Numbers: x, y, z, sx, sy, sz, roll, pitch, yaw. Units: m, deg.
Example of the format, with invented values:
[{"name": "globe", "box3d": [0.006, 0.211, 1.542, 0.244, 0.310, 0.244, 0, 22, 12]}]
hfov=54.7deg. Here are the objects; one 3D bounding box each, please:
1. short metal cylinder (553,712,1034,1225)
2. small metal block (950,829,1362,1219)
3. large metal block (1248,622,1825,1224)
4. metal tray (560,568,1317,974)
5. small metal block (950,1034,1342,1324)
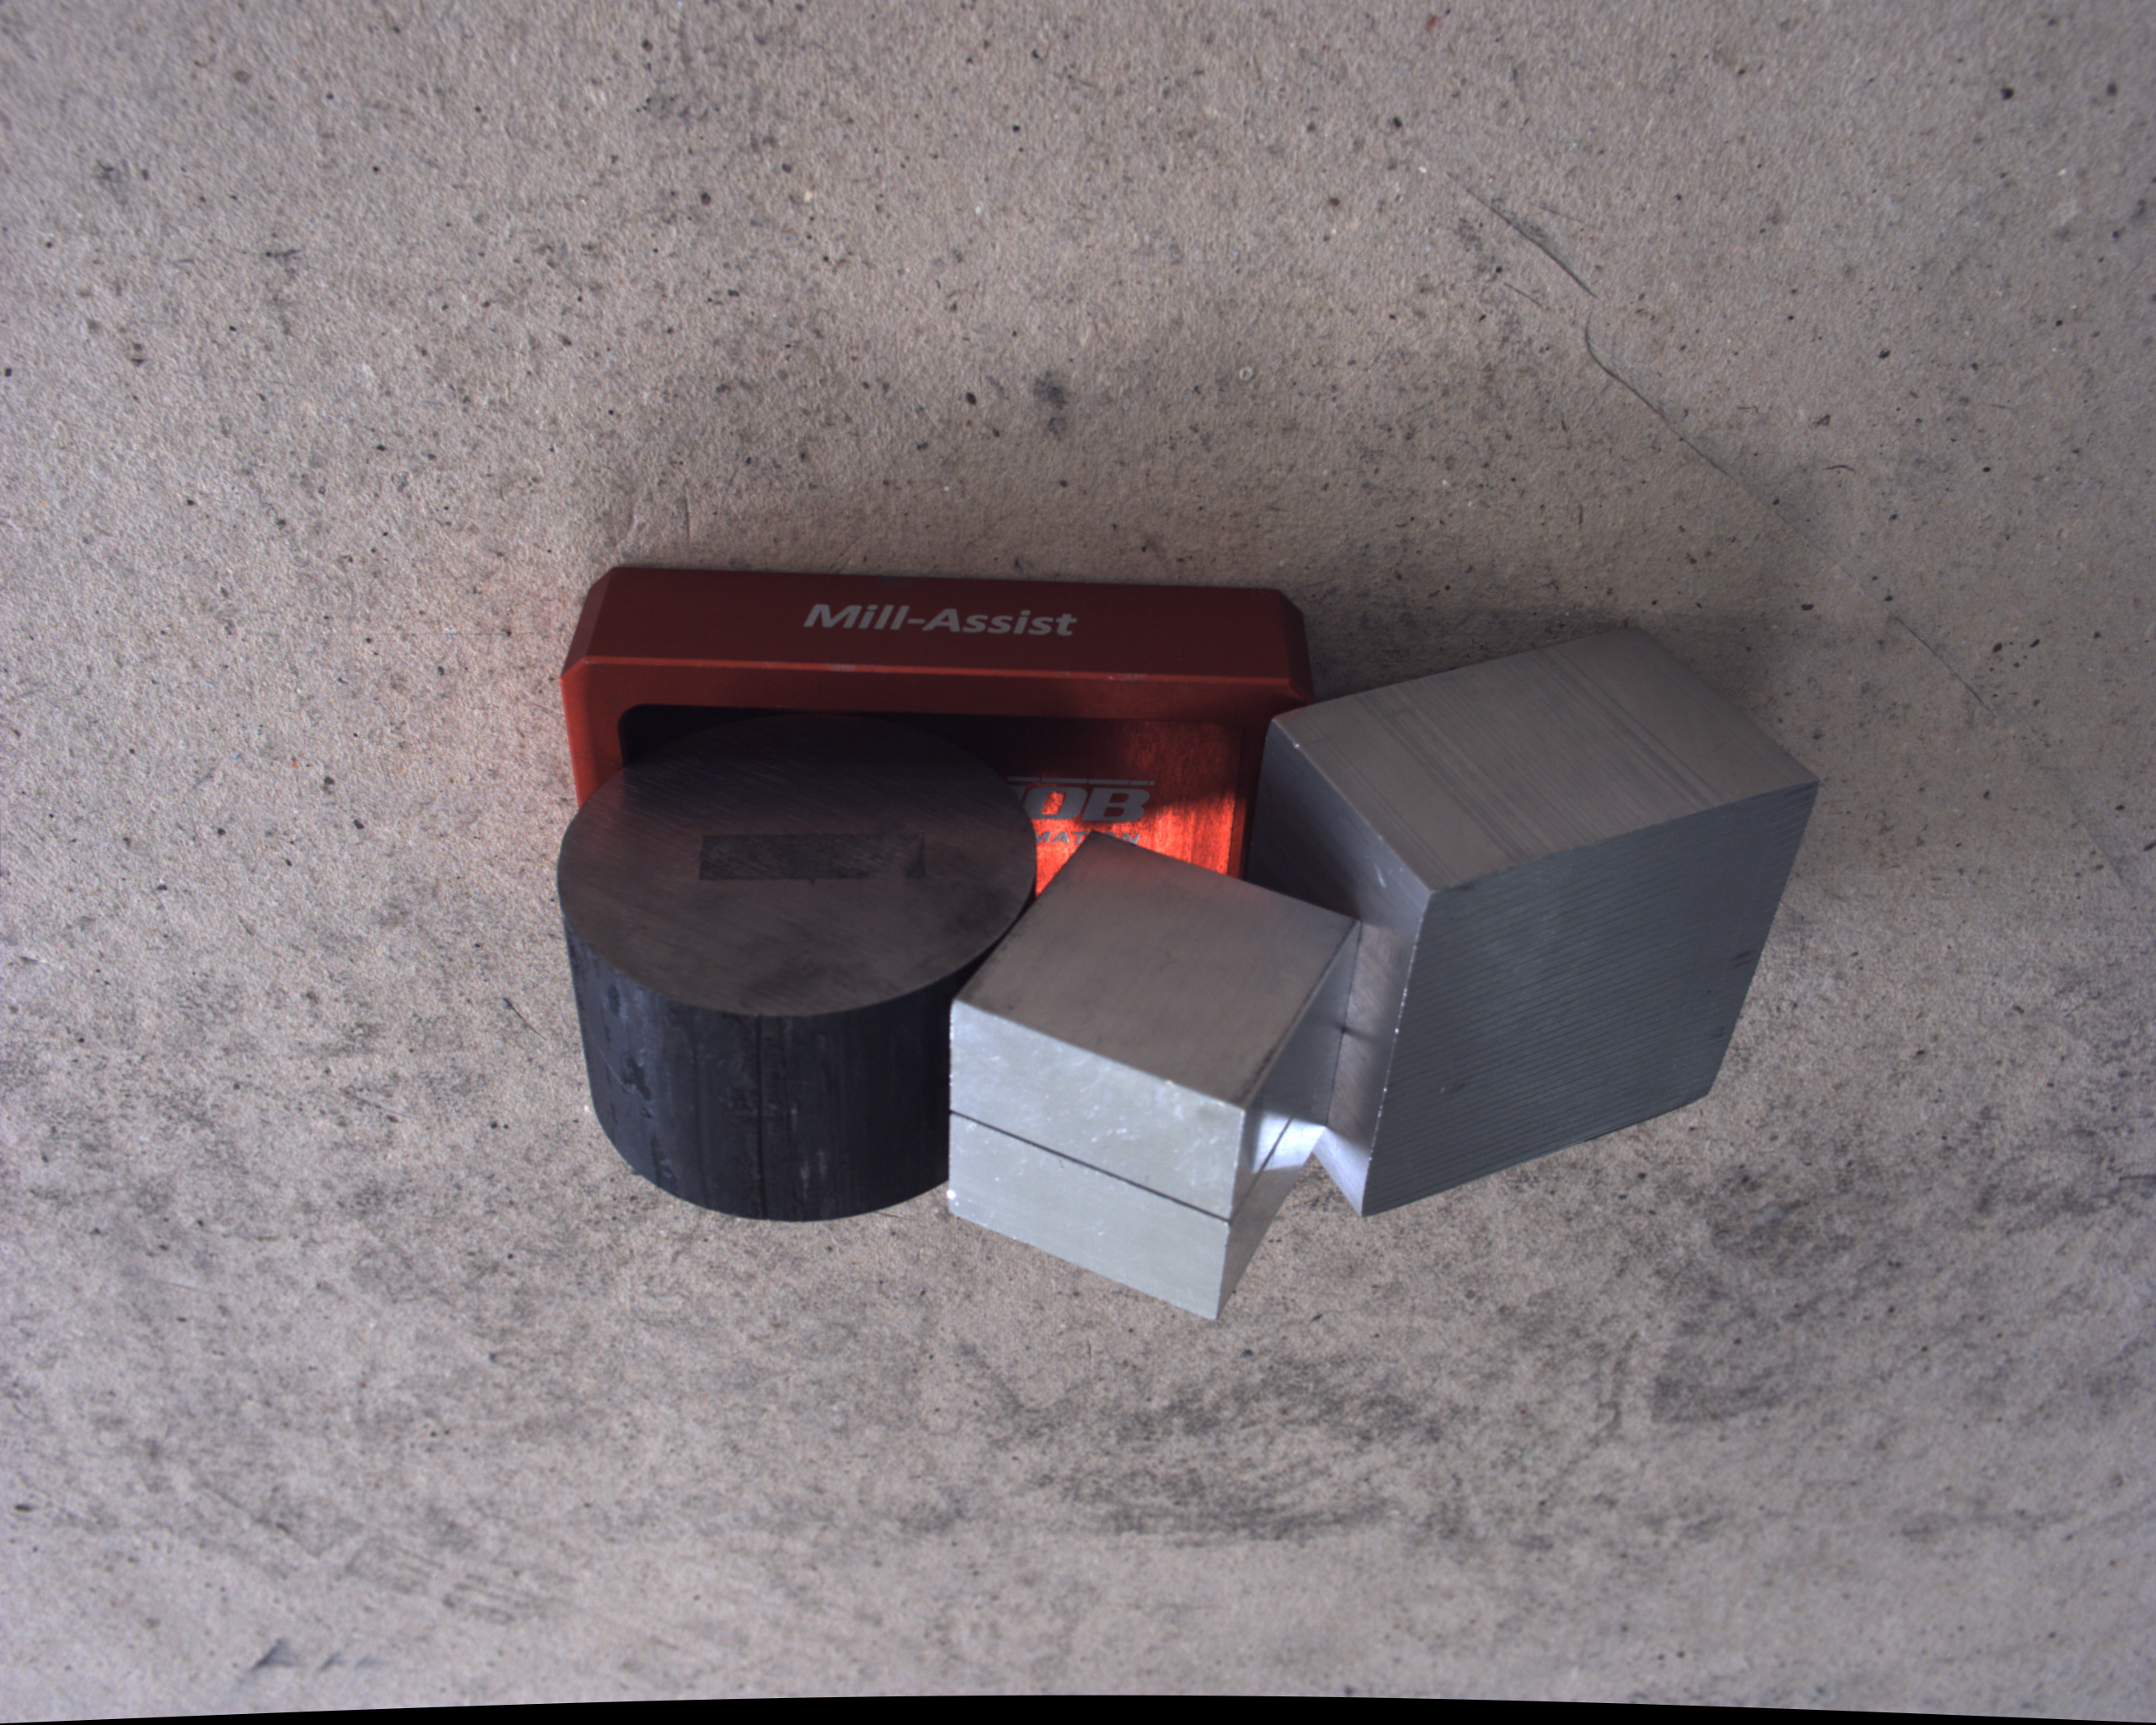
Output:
[{"name": "short metal cylinder", "box3d": [-0.048, 0.017, 0.370, 0.081, 0.080, 0.050, 1, 130, -1]}, {"name": "small metal block", "box3d": [0.013, 0.025, 0.345, 0.050, 0.050, 0.025, 19, 131, 18]}, {"name": "large metal block", "box3d": [0.078, 0.010, 0.383, 0.081, 0.050, 0.079, -15, 134, -22]}, {"name": "metal tray", "box3d": [-0.025, -0.009, 0.397, 0.131, 0.030, 0.089, 2, 130, -2]}, {"name": "small metal block", "box3d": [0.012, 0.045, 0.361, 0.050, 0.050, 0.025, 19, 131, 18]}]
